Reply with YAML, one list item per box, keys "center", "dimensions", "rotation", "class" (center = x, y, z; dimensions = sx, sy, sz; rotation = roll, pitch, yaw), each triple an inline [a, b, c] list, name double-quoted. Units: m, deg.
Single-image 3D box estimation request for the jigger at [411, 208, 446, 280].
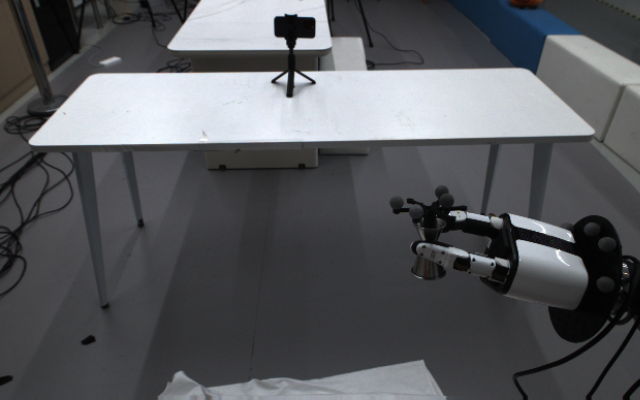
- center: [0.136, 0.059, 0.606]
  dimensions: [0.043, 0.071, 0.043]
  rotation: [-2, 19, 1]
  class: "jigger"
